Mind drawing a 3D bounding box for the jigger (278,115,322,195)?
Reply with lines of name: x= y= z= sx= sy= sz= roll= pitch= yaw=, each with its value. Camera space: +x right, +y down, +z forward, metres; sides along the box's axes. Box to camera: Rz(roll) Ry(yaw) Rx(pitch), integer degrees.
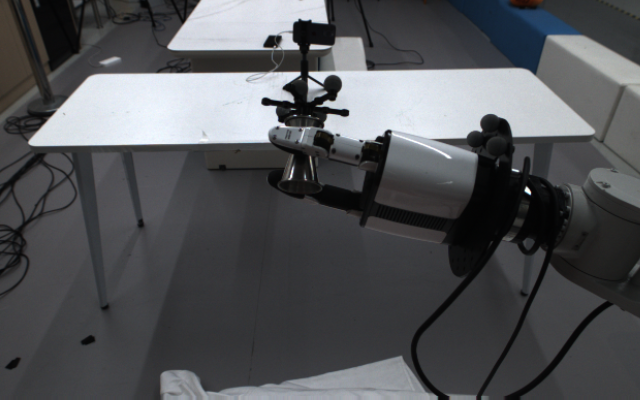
jigger: x=-0.018 y=-0.044 z=0.480 sx=0.043 sy=0.043 sz=0.071 roll=3 pitch=75 yaw=1
